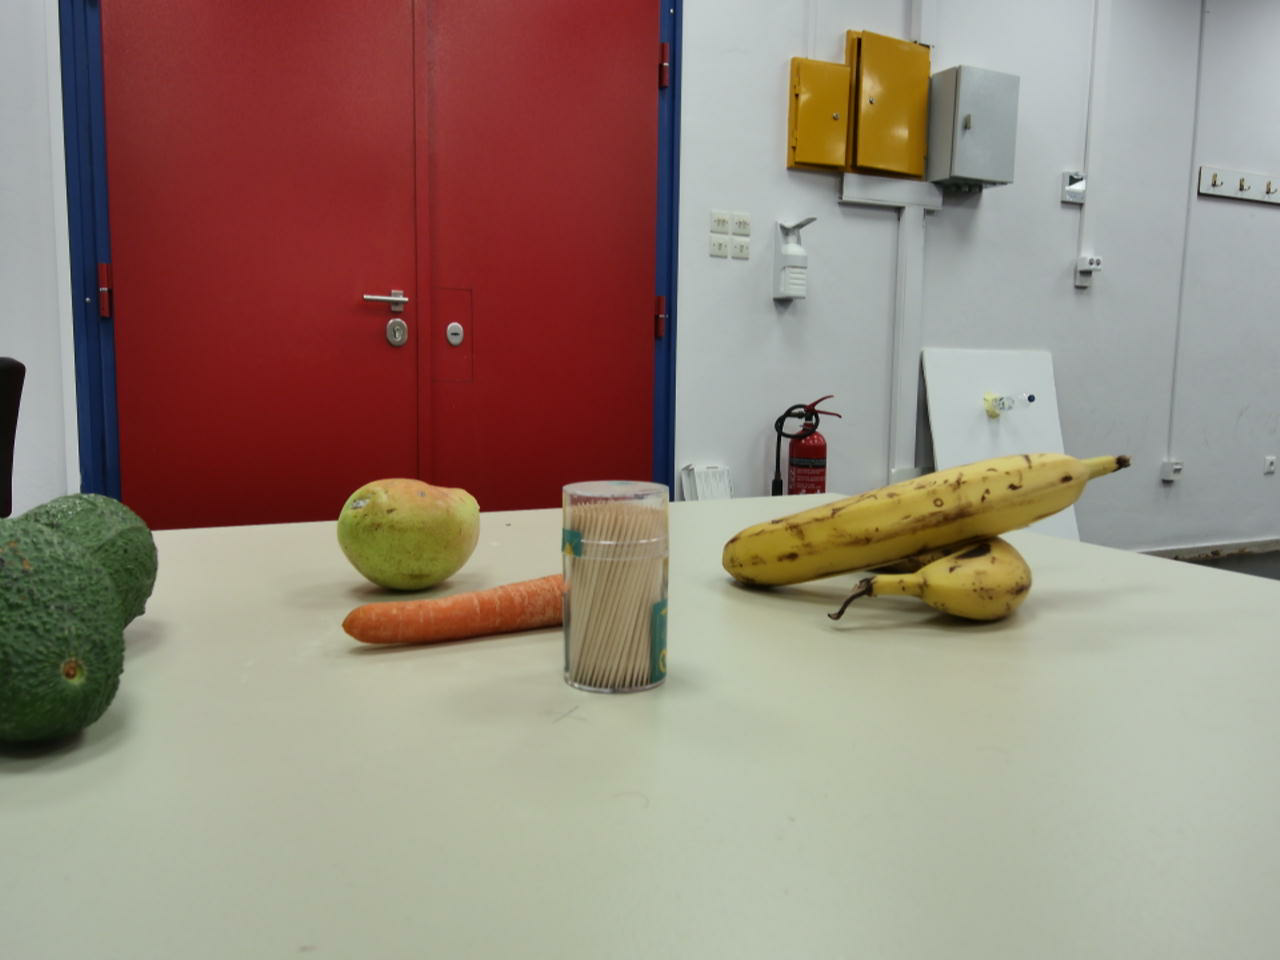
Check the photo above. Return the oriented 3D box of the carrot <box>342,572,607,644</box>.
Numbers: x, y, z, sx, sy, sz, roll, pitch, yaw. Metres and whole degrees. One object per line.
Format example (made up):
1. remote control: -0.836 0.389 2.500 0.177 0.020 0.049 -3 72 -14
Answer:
1. carrot: -0.070 0.057 0.447 0.122 0.023 0.024 -3 5 -29
